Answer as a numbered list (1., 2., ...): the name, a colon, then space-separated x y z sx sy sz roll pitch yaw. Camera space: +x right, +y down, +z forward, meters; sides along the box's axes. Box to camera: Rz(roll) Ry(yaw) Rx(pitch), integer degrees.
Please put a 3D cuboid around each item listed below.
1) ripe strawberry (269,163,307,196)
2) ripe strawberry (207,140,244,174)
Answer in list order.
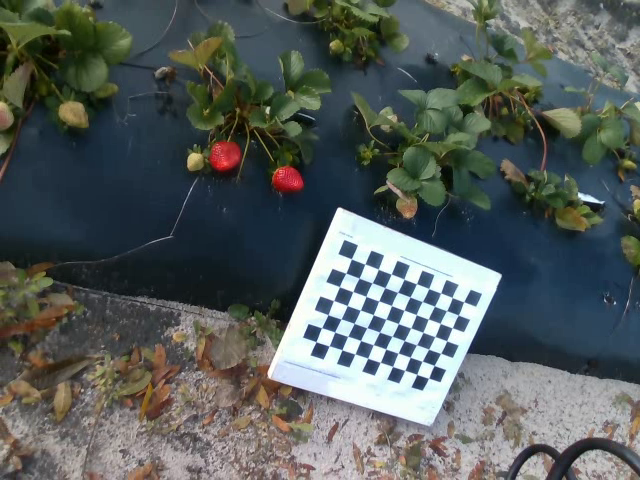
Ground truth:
1. ripe strawberry: -0.027 -0.064 0.692 0.034 0.037 0.039 29 13 -39
2. ripe strawberry: -0.088 -0.084 0.666 0.035 0.041 0.036 6 34 -13
